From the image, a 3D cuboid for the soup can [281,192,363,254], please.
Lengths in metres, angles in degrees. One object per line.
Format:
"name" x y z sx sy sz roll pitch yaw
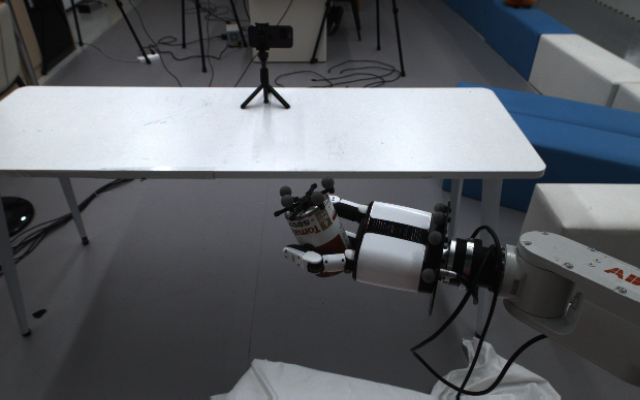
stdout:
"soup can" 0.003 0.047 0.675 0.067 0.101 0.067 -22 24 10
